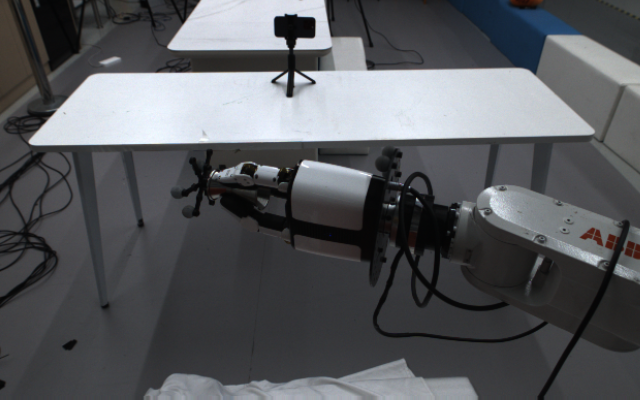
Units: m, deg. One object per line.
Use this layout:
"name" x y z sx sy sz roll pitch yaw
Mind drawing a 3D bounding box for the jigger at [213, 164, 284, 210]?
"jigger" -0.094 -0.018 0.600 0.071 0.043 0.043 10 35 16
